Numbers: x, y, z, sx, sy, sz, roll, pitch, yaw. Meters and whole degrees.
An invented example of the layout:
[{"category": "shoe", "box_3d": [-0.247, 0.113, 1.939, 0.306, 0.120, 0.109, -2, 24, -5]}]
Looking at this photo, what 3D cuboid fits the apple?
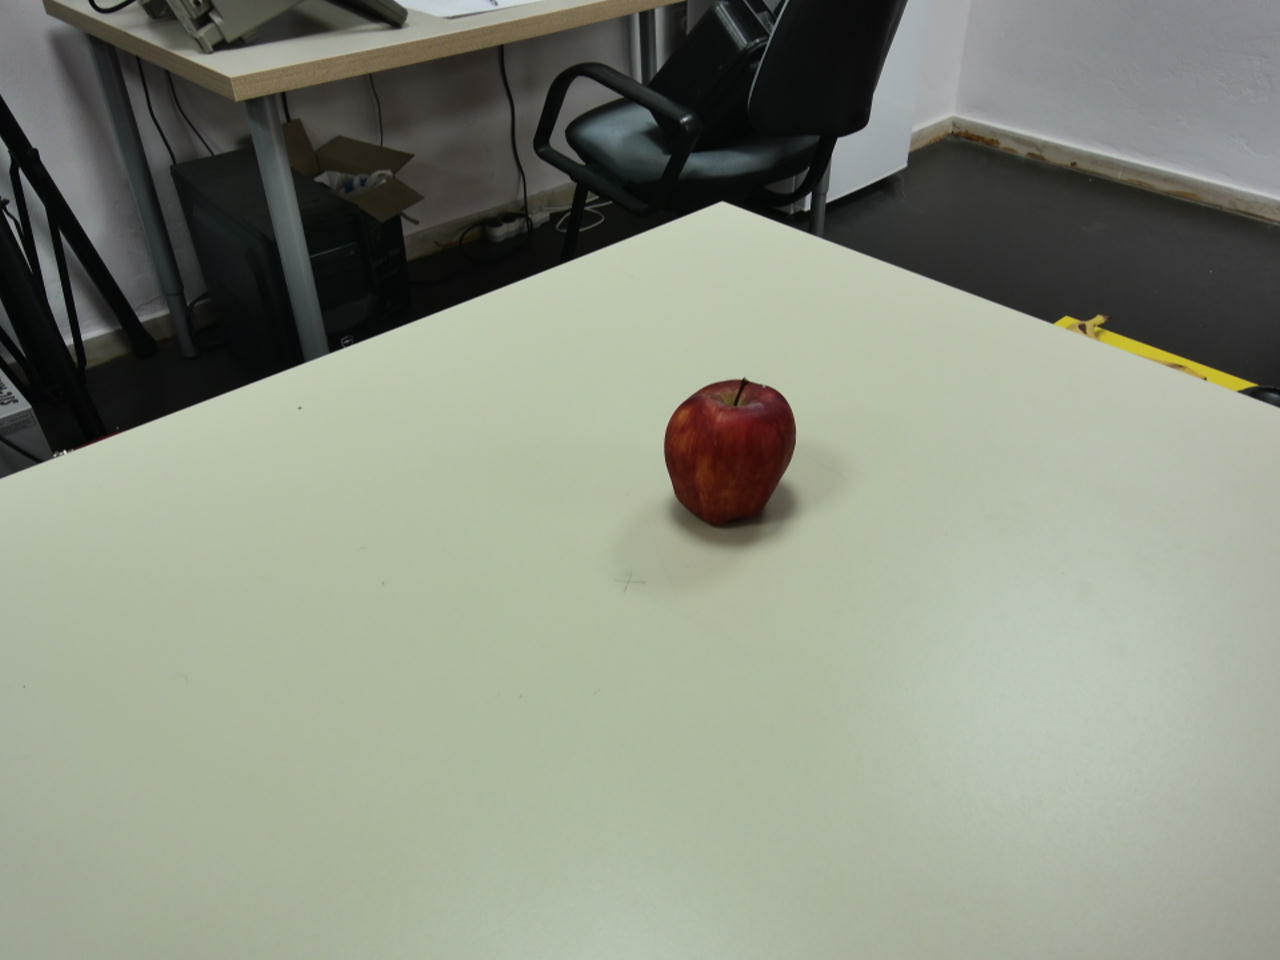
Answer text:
[{"category": "apple", "box_3d": [0.055, -0.023, 0.604, 0.083, 0.090, 0.083, -1, 36, 1]}]
